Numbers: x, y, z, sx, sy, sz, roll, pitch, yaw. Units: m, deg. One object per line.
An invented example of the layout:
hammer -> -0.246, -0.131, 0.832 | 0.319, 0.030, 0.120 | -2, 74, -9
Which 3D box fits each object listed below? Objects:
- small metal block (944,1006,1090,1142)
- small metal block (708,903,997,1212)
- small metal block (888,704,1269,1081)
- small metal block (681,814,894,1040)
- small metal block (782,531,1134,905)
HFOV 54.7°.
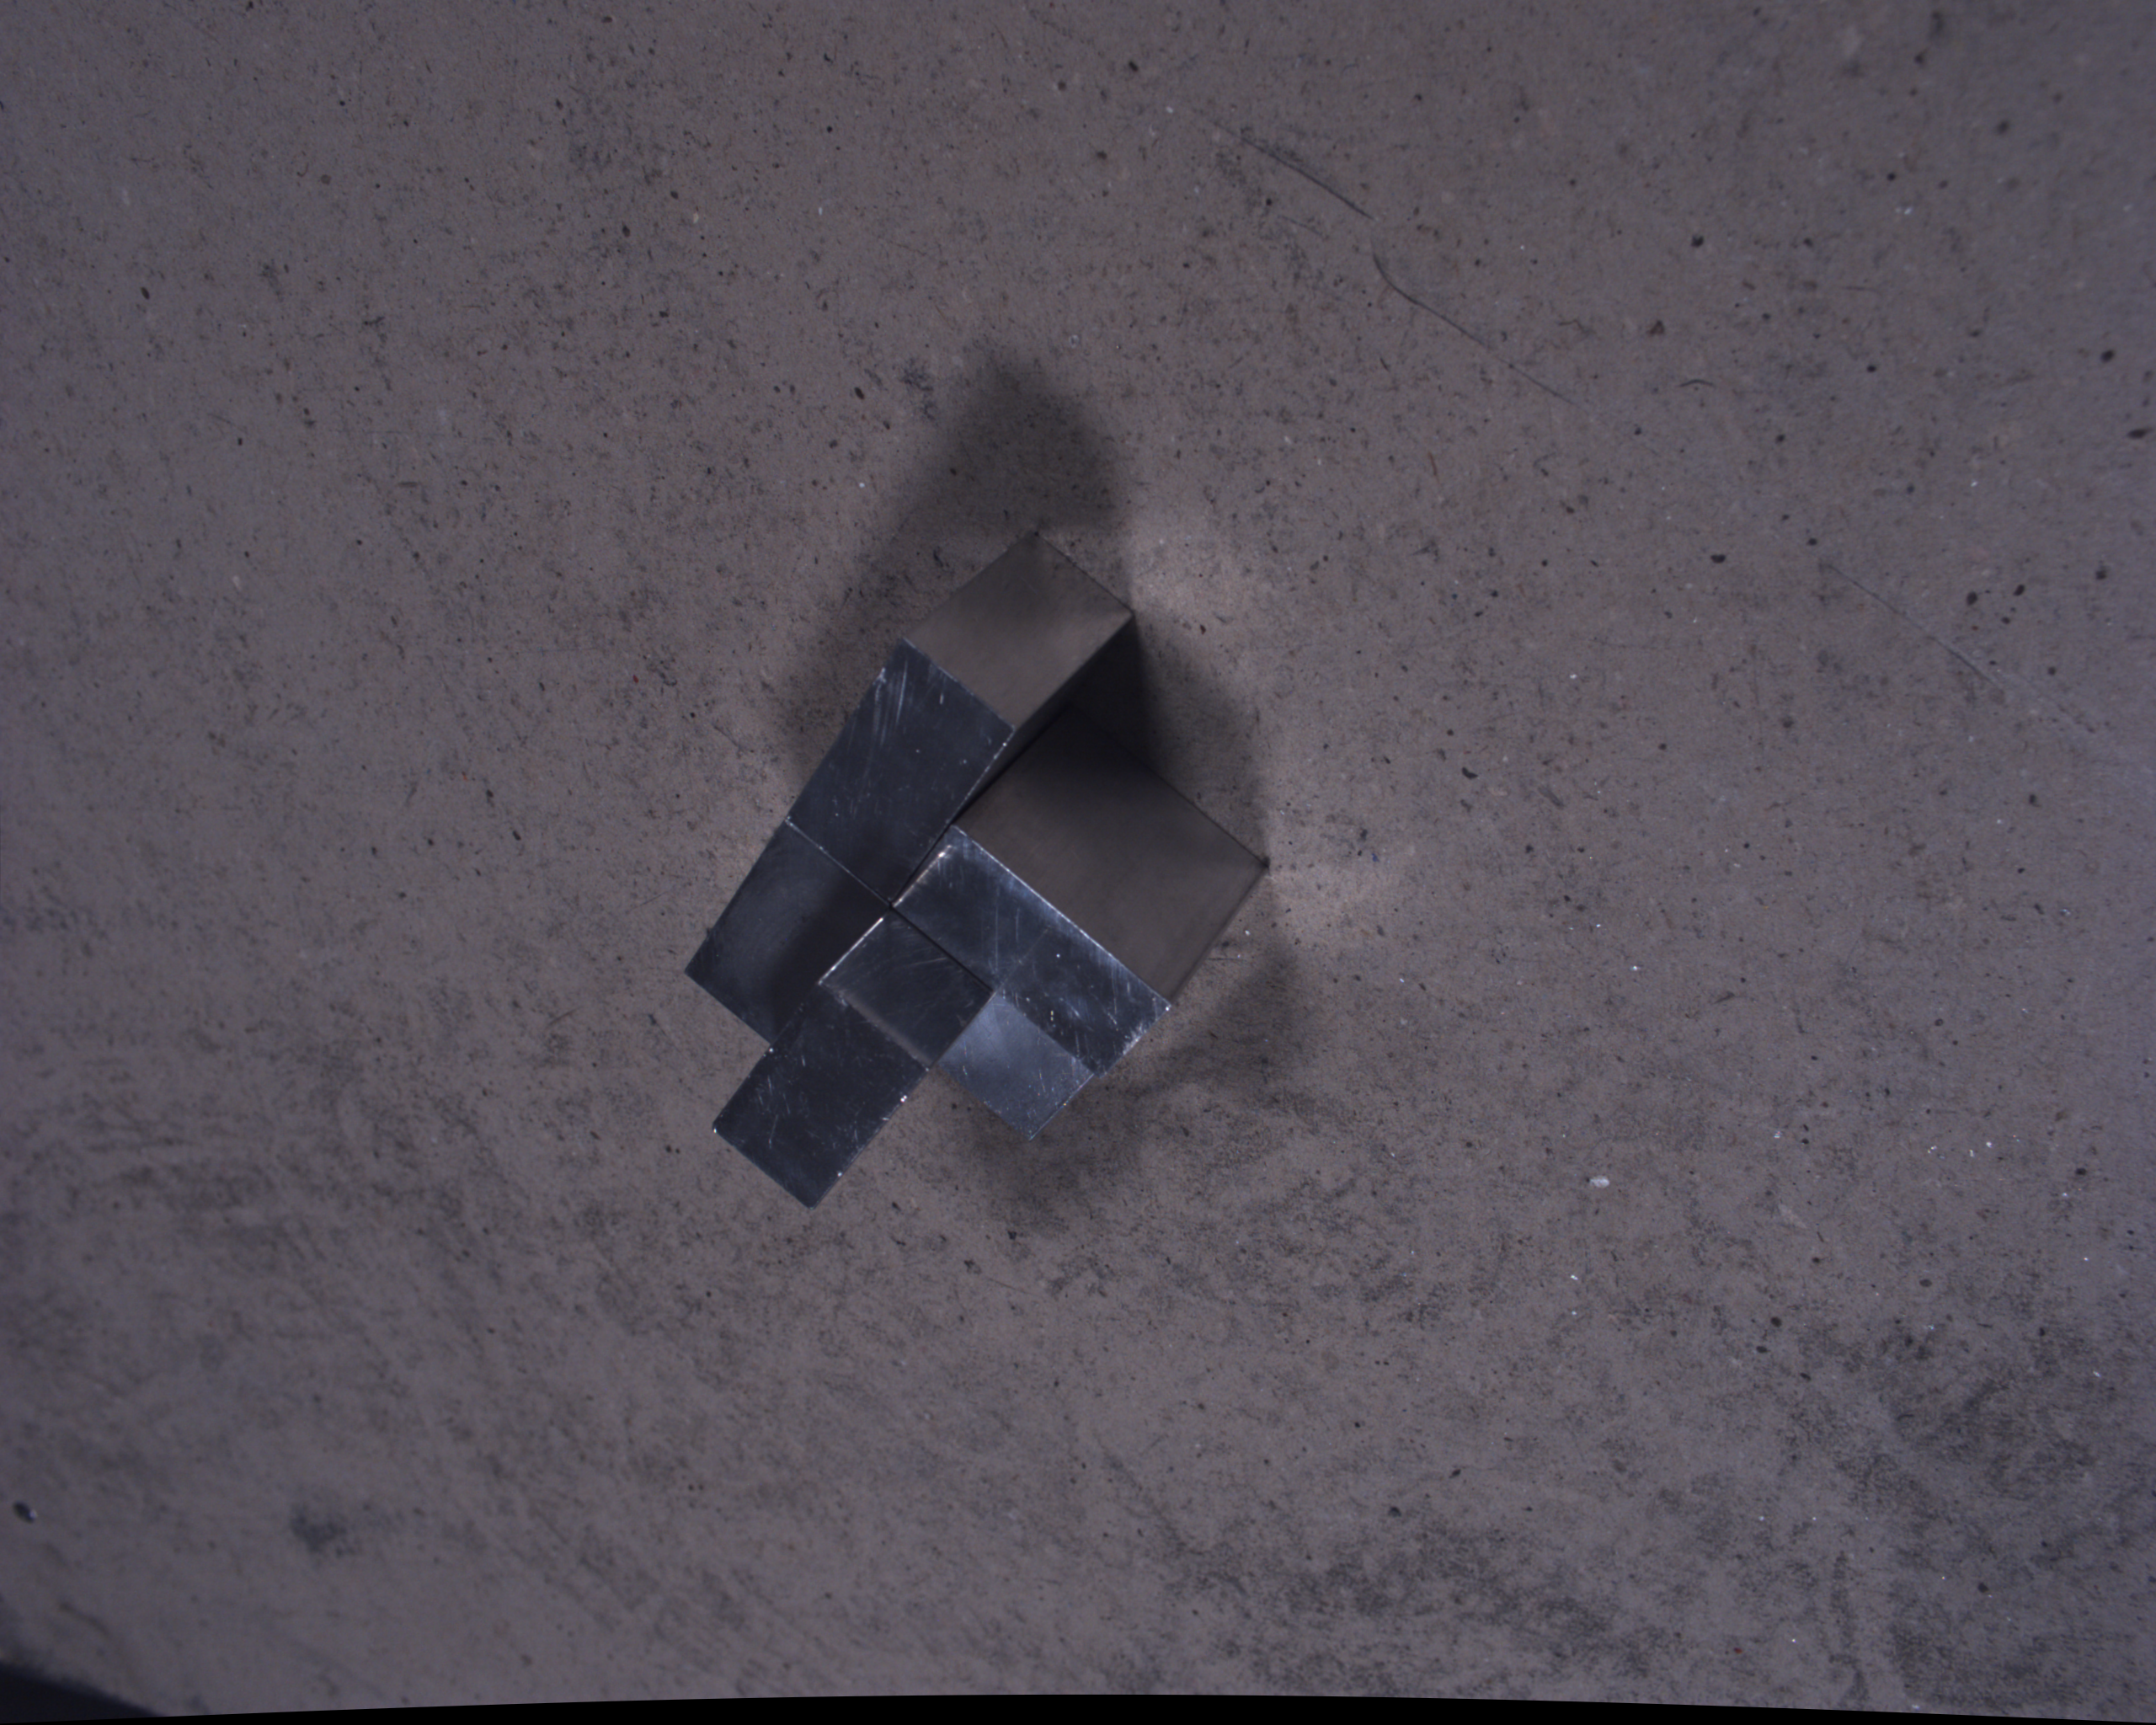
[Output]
small metal block -> -0.011, 0.021, 0.426 | 0.050, 0.025, 0.050 | 40, 129, 0
small metal block -> -0.037, 0.031, 0.397 | 0.025, 0.050, 0.050 | 40, 129, 1
small metal block -> 0.001, 0.005, 0.393 | 0.050, 0.050, 0.025 | 40, 129, 0
small metal block -> -0.046, 0.003, 0.416 | 0.025, 0.050, 0.050 | 40, 129, 1
small metal block -> -0.022, -0.027, 0.385 | 0.025, 0.050, 0.050 | 40, 129, 1
